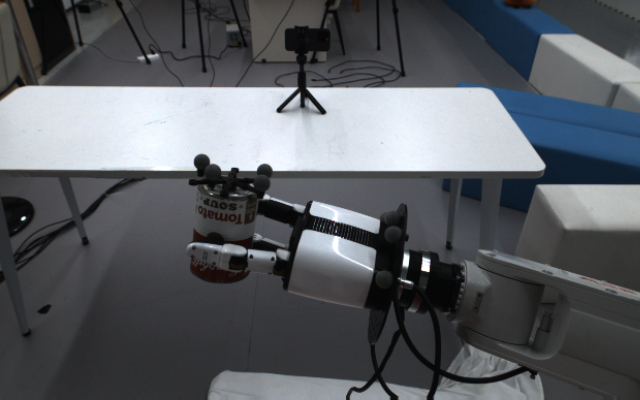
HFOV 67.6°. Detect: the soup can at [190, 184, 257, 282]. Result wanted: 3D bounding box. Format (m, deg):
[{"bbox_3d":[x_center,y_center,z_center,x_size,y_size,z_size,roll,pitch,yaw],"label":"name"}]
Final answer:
[{"bbox_3d":[-0.103,0.031,0.536,0.067,0.101,0.067,9,20,-3],"label":"soup can"}]
